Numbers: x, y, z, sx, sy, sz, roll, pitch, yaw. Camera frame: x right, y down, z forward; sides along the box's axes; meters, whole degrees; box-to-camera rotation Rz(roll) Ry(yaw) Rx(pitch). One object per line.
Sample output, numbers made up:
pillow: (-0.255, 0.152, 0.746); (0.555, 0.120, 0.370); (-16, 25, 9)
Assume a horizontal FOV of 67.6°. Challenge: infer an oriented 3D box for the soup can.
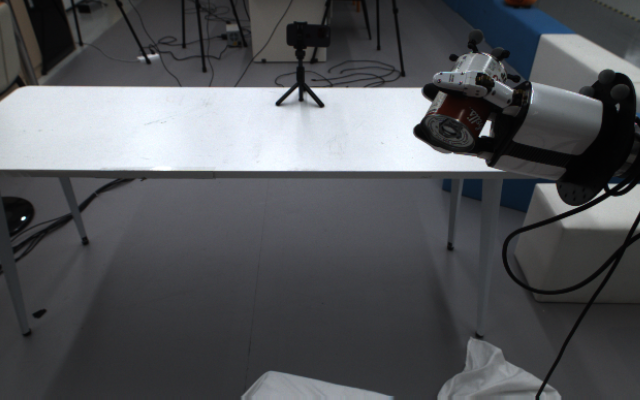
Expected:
soup can: (0.174, -0.117, 0.576); (0.067, 0.067, 0.101); (22, 71, 26)
